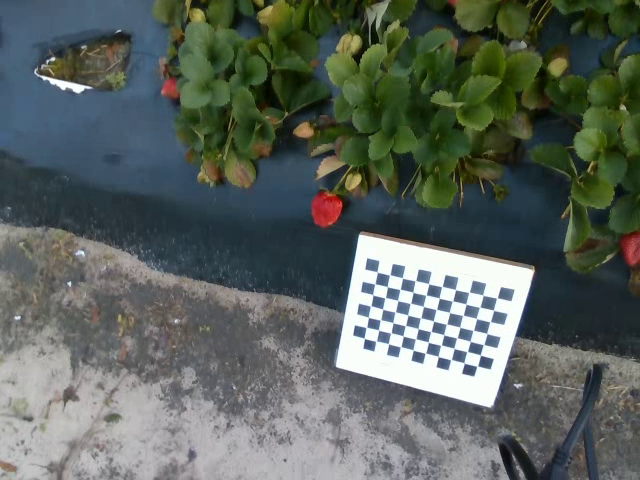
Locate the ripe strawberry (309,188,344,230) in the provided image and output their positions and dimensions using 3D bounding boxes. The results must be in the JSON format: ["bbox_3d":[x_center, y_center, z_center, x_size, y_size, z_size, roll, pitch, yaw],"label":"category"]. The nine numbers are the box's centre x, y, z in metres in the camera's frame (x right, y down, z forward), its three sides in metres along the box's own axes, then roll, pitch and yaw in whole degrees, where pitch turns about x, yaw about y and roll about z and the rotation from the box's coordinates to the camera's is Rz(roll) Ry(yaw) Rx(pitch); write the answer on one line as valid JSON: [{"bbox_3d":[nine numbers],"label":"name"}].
[{"bbox_3d":[0.009,-0.058,1.177,0.067,0.075,0.039,17,21,12],"label":"ripe strawberry"}]
